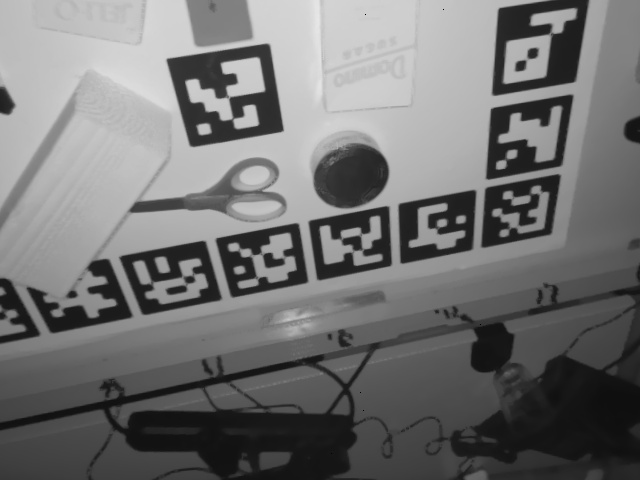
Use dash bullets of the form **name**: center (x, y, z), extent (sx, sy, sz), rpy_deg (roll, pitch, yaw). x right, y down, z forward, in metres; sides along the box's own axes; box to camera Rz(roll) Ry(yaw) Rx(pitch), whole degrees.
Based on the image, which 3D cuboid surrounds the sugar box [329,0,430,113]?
- **sugar box**: center (0.056, -0.213, 0.676), extent (0.093, 0.045, 0.175), rpy_deg (-6, 127, -8)

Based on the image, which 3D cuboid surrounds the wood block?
- **wood block**: center (-0.243, -0.059, 0.691), extent (0.090, 0.091, 0.204), rpy_deg (30, 116, -31)

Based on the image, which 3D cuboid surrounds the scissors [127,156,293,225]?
- **scissors**: center (-0.129, -0.049, 0.770), extent (0.204, 0.016, 0.087), rpy_deg (-5, 127, -13)

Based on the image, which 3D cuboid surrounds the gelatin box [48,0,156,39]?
- **gelatin box**: center (-0.191, -0.224, 0.615), extent (0.090, 0.030, 0.072), rpy_deg (6, 124, -18)

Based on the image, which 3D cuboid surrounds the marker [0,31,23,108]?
- **marker**: center (-0.296, -0.176, 0.629), extent (0.020, 0.020, 0.120), rpy_deg (-9, 125, -7)

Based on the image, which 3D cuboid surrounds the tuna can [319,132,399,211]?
- **tuna can**: center (0.043, -0.077, 0.776), extent (0.086, 0.034, 0.085), rpy_deg (-7, 127, -9)

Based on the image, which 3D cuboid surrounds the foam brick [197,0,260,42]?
- **foam brick**: center (-0.085, -0.225, 0.621), extent (0.053, 0.051, 0.077), rpy_deg (-8, 127, -7)
